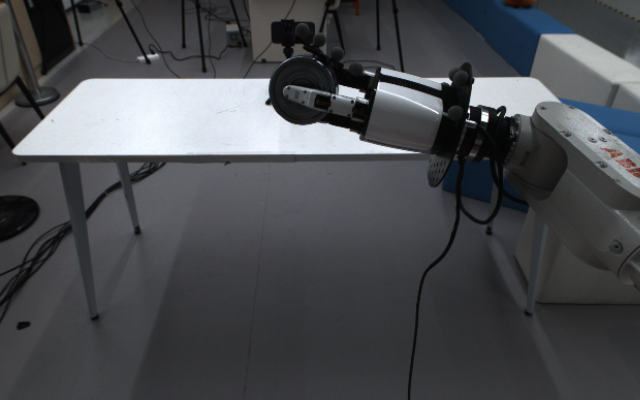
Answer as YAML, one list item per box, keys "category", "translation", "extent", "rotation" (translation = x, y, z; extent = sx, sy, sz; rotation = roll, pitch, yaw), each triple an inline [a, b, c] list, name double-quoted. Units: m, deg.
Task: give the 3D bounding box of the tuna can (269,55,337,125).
- category: "tuna can"
  translation: [-0.020, -0.140, 0.612]
  extent: [0.085, 0.085, 0.034]
  rotation: [6, 19, 6]
